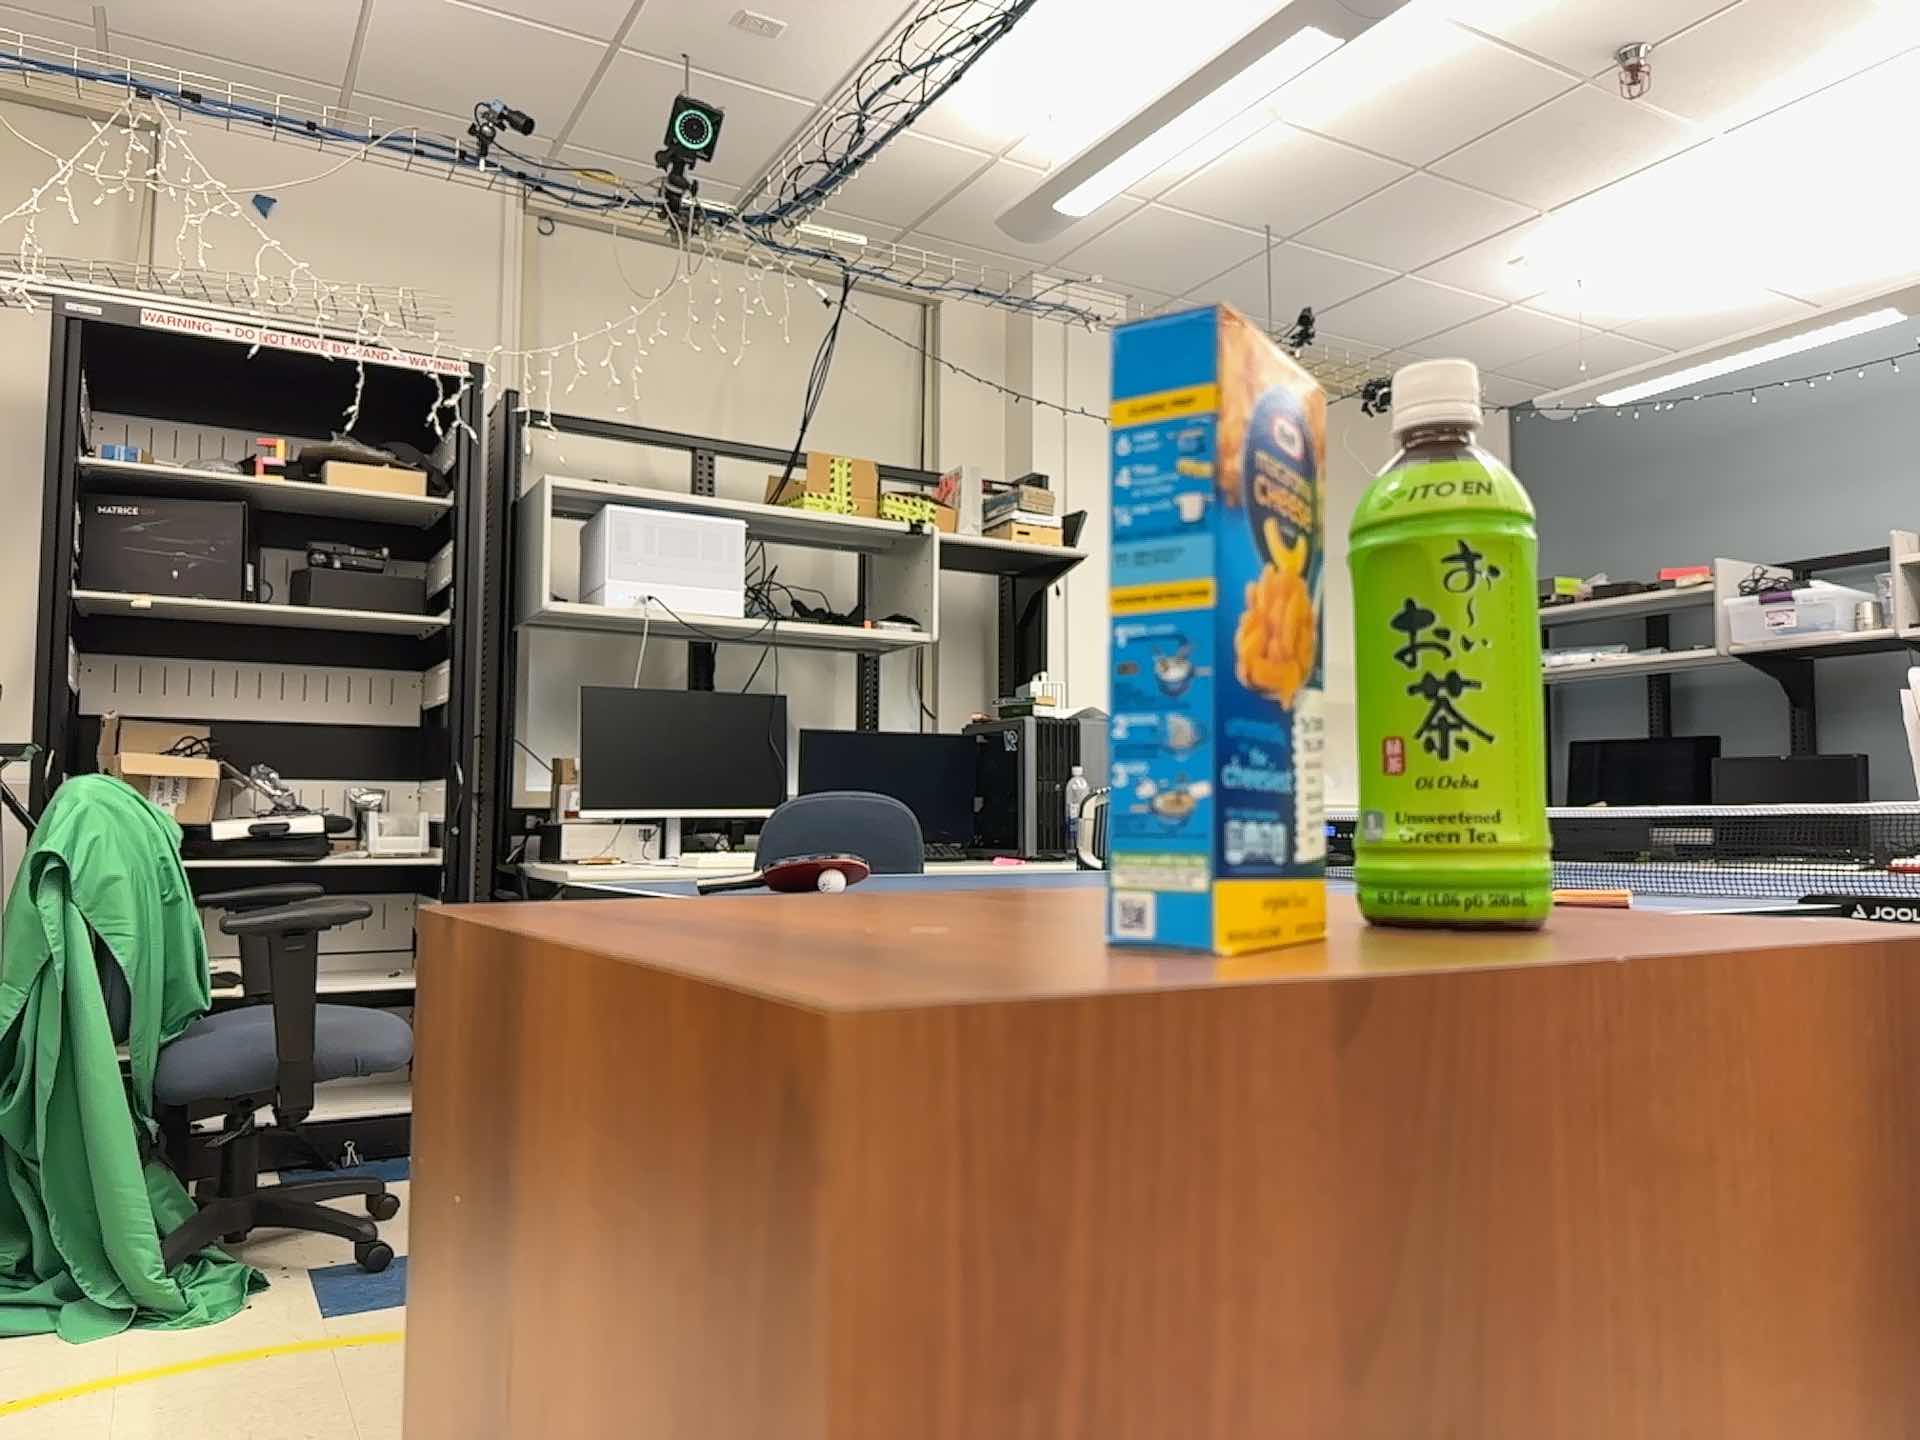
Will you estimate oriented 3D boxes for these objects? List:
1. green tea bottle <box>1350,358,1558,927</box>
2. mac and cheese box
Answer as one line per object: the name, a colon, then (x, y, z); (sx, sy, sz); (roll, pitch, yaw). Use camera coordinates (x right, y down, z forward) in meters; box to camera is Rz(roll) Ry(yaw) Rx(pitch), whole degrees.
green tea bottle: (0.184, -0.030, 0.510); (0.073, 0.212, 0.073); (2, -8, 0)
mac and cheese box: (0.084, -0.024, 0.420); (0.035, 0.181, 0.088); (-3, -7, 36)
